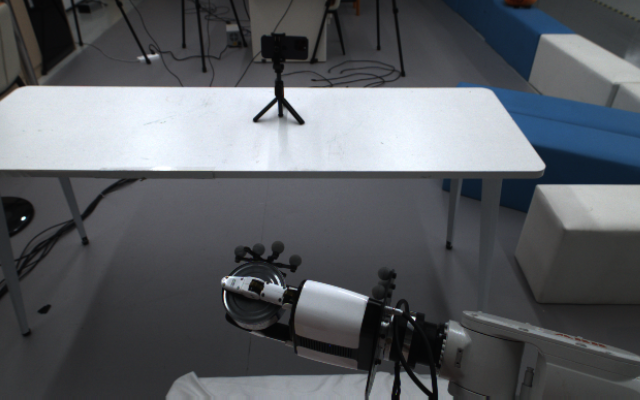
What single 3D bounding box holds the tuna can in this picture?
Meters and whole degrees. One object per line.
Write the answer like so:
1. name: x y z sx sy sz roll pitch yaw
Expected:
1. tuna can: -0.084 0.126 0.641 0.085 0.034 0.085 -2 58 4
